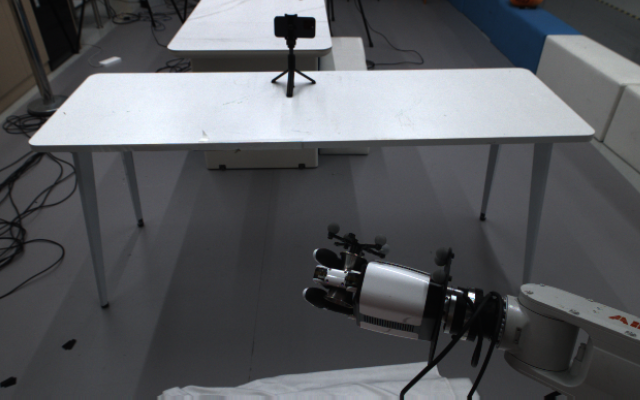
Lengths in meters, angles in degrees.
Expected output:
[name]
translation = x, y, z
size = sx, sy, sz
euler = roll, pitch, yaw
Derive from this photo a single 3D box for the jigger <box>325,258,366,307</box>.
[jigger]
translation = 0.039, 0.110, 0.673
size = 0.043, 0.043, 0.071
euler = 13, 70, 16
